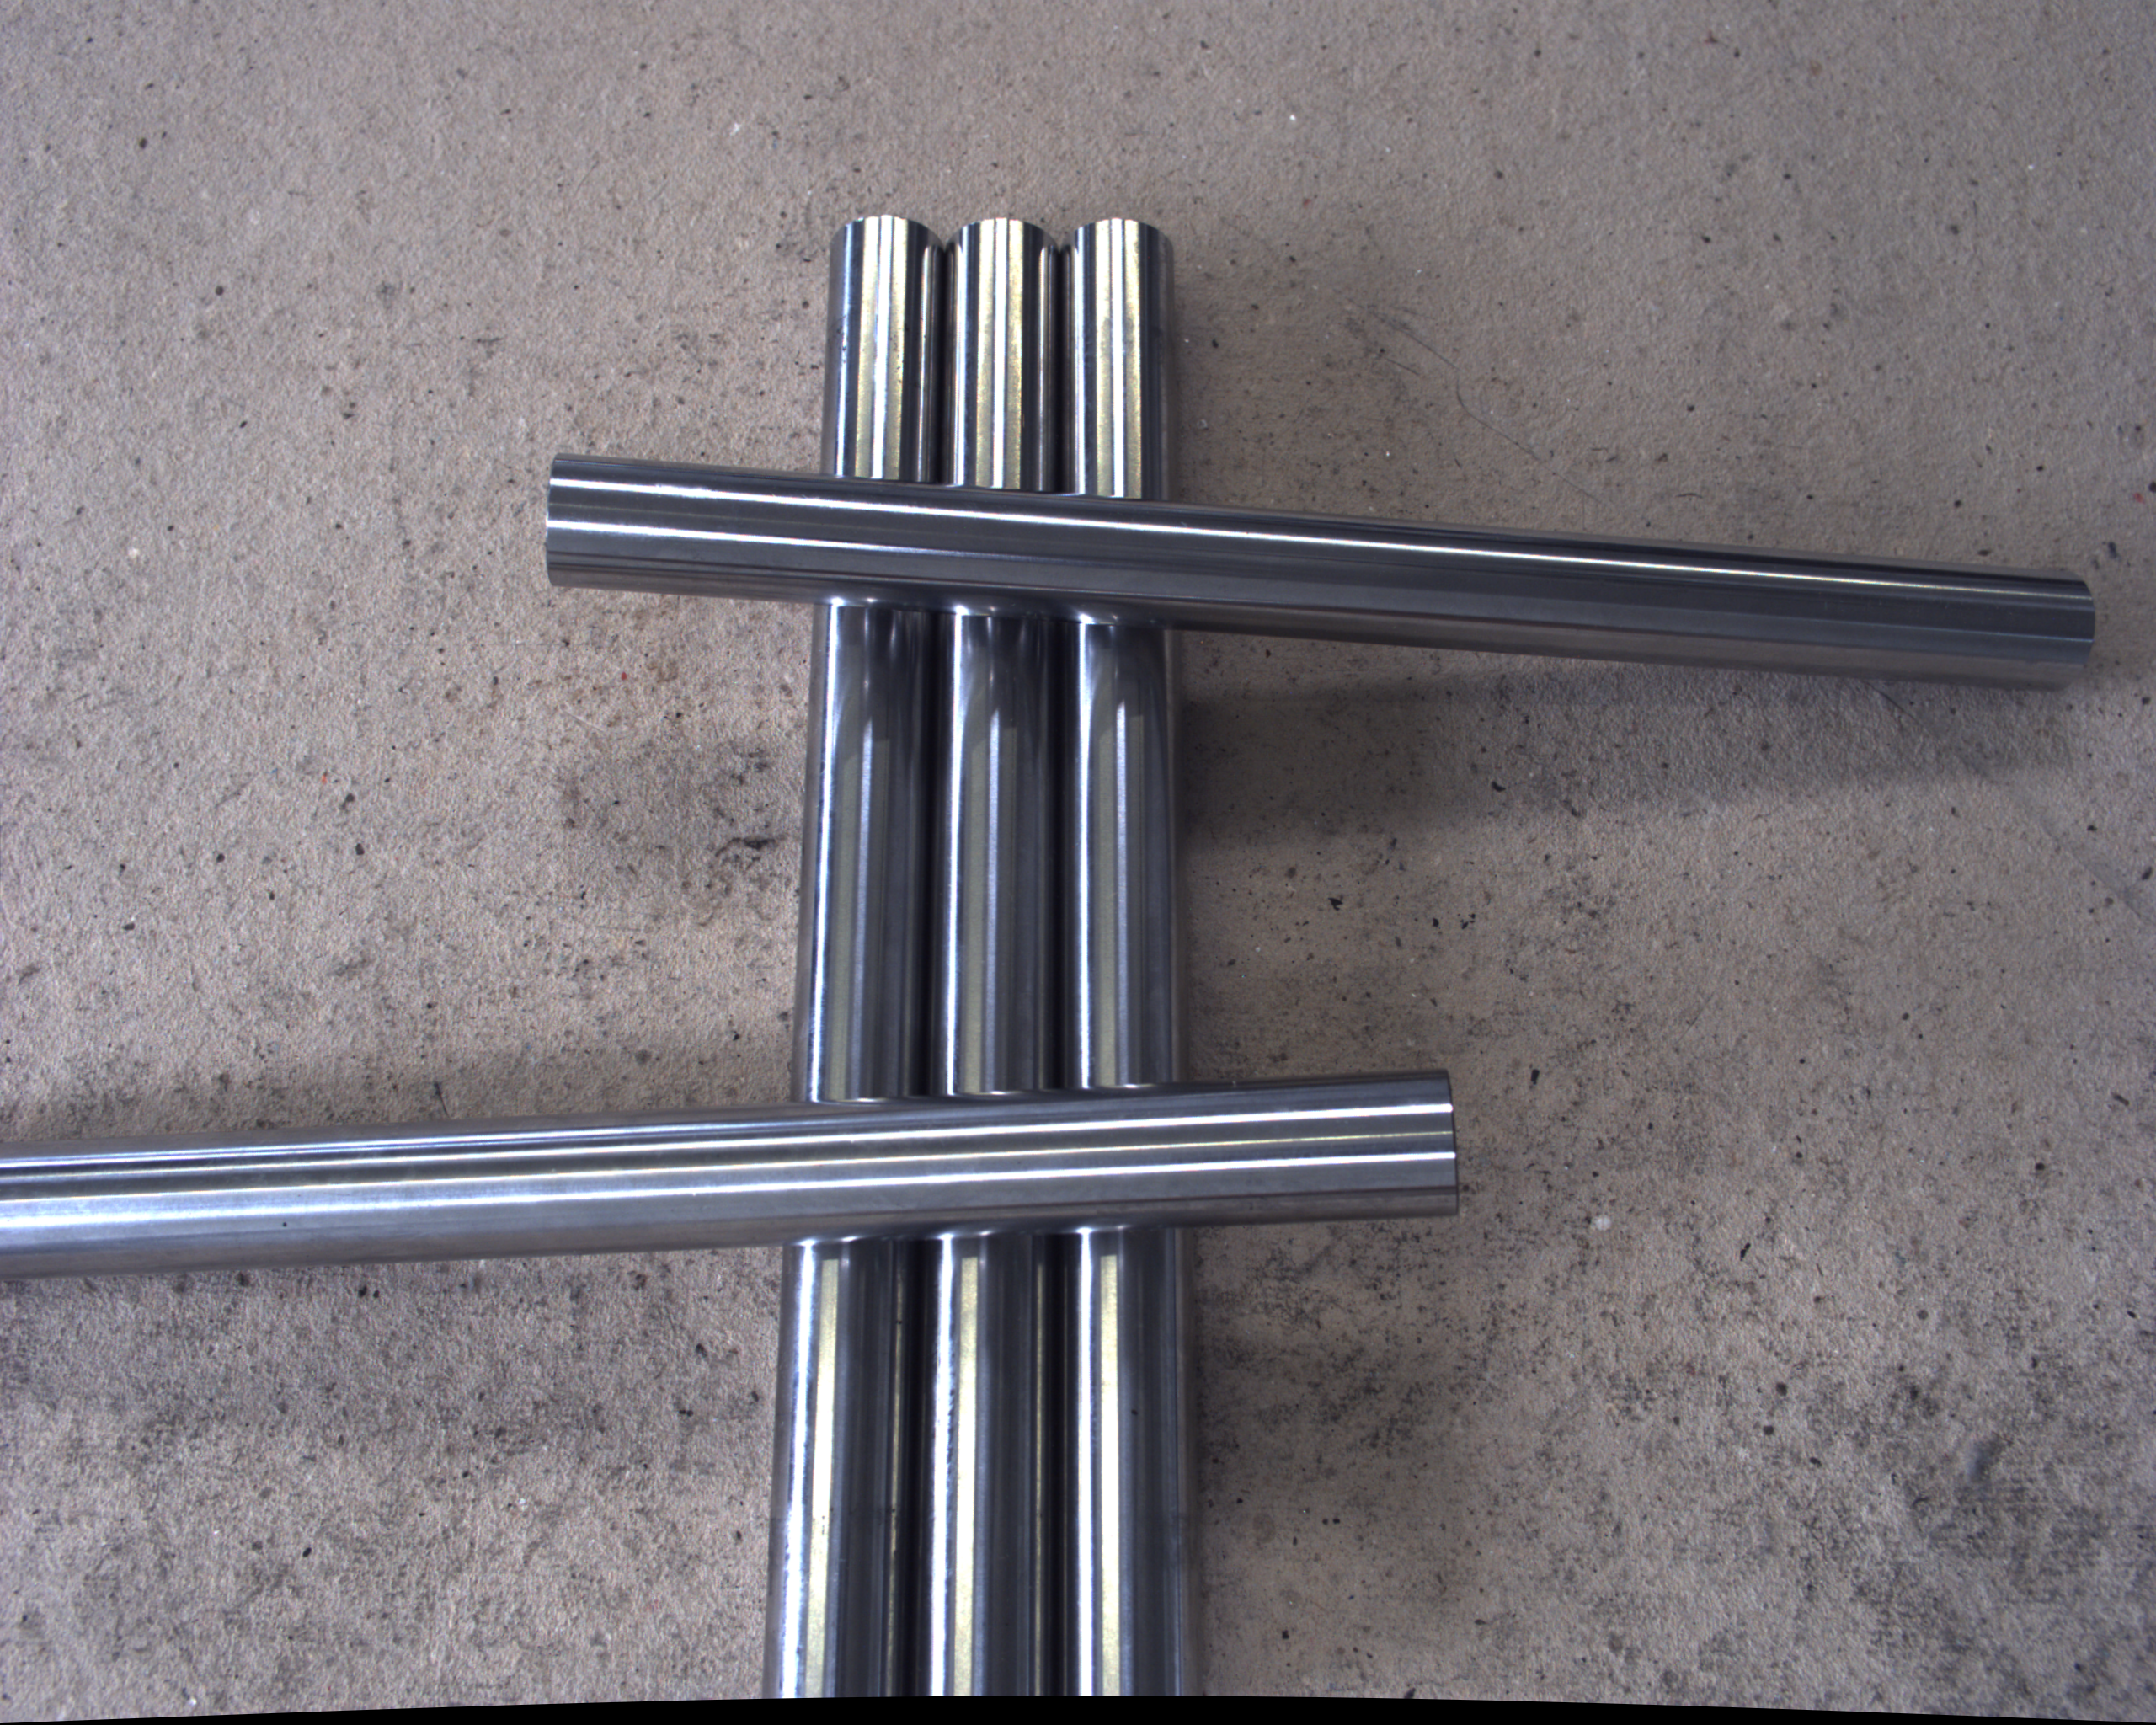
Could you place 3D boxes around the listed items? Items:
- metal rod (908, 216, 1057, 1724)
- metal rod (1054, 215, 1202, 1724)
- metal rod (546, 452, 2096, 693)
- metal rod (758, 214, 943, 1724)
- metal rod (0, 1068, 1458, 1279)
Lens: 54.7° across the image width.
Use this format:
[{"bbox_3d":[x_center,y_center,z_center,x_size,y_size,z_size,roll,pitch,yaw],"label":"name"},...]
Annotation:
[{"bbox_3d":[-0.017,0.006,0.406,0.025,0.025,0.299,0,70,0],"label":"metal rod"},{"bbox_3d":[0.009,0.006,0.406,0.025,0.025,0.299,0,70,0],"label":"metal rod"},{"bbox_3d":[0.052,-0.056,0.409,0.302,0.025,0.025,3,70,-7],"label":"metal rod"},{"bbox_3d":[-0.042,0.006,0.406,0.025,0.025,0.299,0,70,0],"label":"metal rod"},{"bbox_3d":[-0.087,0.056,0.367,0.302,0.025,0.025,-4,70,6],"label":"metal rod"}]
